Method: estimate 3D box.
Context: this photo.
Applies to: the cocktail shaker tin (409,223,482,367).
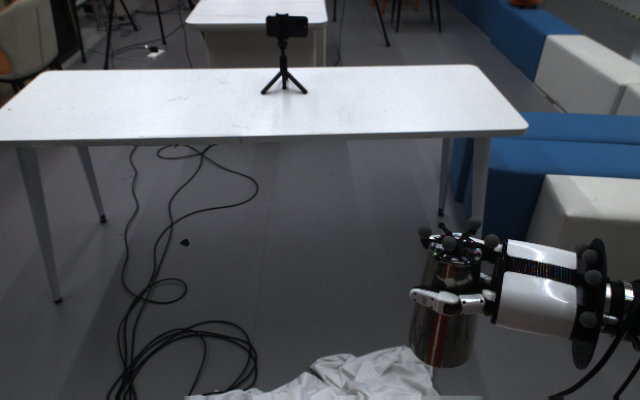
[{"bbox_3d":[0.176,0.130,0.656,0.093,0.170,0.093,-1,32,1],"label":"cocktail shaker tin"}]
